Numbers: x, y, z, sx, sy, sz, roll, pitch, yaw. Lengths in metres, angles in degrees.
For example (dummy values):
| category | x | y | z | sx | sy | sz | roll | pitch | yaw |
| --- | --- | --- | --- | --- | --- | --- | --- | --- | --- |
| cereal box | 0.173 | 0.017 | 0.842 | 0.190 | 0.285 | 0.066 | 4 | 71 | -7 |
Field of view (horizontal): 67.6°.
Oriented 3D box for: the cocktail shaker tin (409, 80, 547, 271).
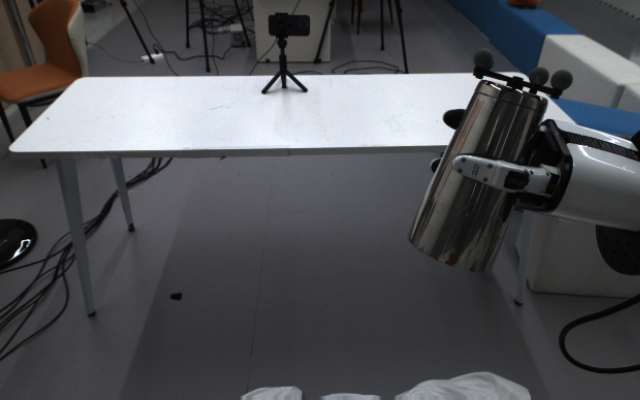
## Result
| category | x | y | z | sx | sy | sz | roll | pitch | yaw |
| --- | --- | --- | --- | --- | --- | --- | --- | --- | --- |
| cocktail shaker tin | 0.160 | -0.026 | 0.482 | 0.093 | 0.170 | 0.093 | 15 | 17 | -5 |
